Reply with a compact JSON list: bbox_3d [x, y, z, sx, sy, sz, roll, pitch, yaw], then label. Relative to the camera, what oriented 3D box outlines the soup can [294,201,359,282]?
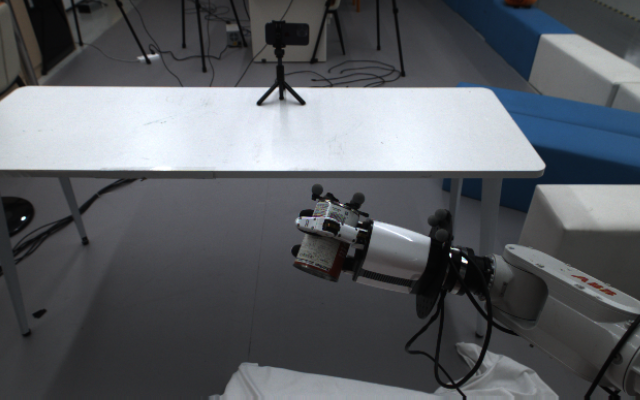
[{"bbox_3d":[0.012,0.058,0.693,0.067,0.067,0.101,15,75,18],"label":"soup can"}]
